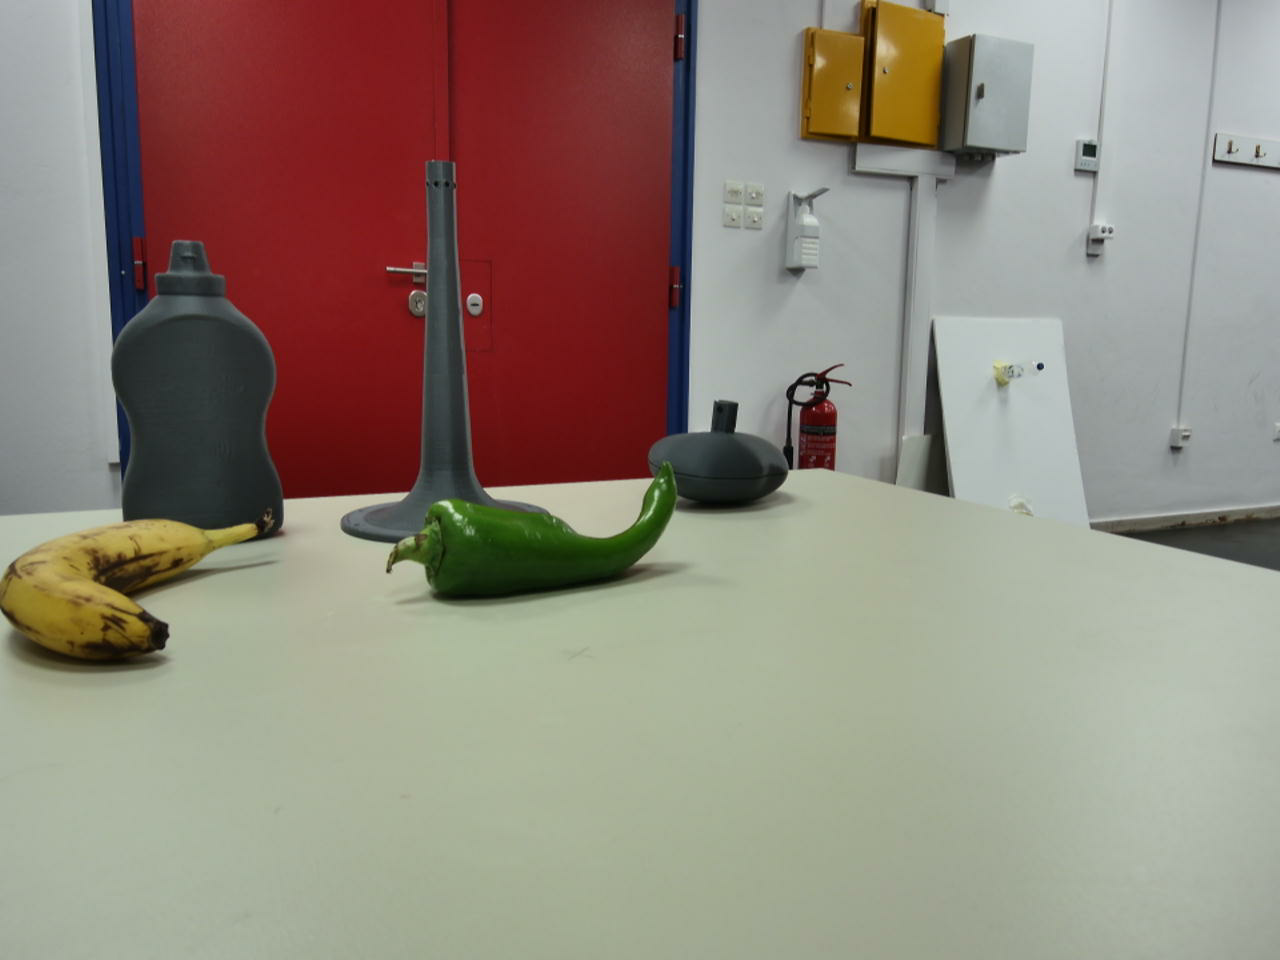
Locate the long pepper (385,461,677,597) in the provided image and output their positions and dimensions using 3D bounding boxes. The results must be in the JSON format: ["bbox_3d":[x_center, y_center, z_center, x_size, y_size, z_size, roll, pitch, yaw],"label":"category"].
[{"bbox_3d":[-0.052,0.027,0.549,0.175,0.065,0.058,-3,7,-27],"label":"long pepper"}]
